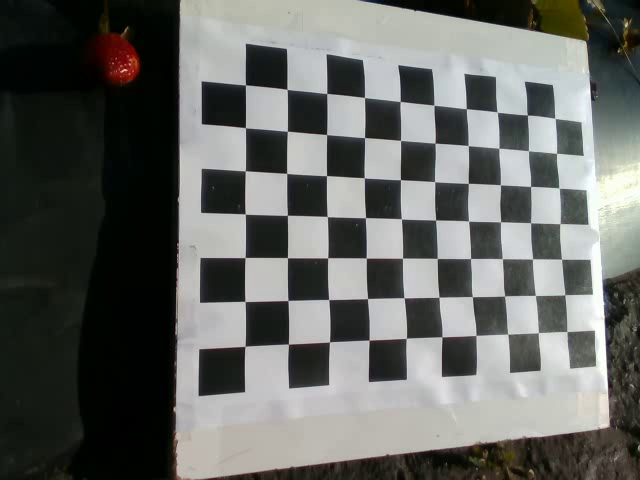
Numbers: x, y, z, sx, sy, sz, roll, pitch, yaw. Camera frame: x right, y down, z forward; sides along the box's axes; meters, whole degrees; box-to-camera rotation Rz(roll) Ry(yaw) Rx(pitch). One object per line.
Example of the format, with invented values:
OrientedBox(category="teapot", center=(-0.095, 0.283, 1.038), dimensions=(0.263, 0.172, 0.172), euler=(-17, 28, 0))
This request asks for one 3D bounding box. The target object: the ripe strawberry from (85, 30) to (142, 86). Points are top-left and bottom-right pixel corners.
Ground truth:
OrientedBox(category="ripe strawberry", center=(-0.094, -0.079, 0.264), dimensions=(0.034, 0.033, 0.038), euler=(-1, 33, -20))
